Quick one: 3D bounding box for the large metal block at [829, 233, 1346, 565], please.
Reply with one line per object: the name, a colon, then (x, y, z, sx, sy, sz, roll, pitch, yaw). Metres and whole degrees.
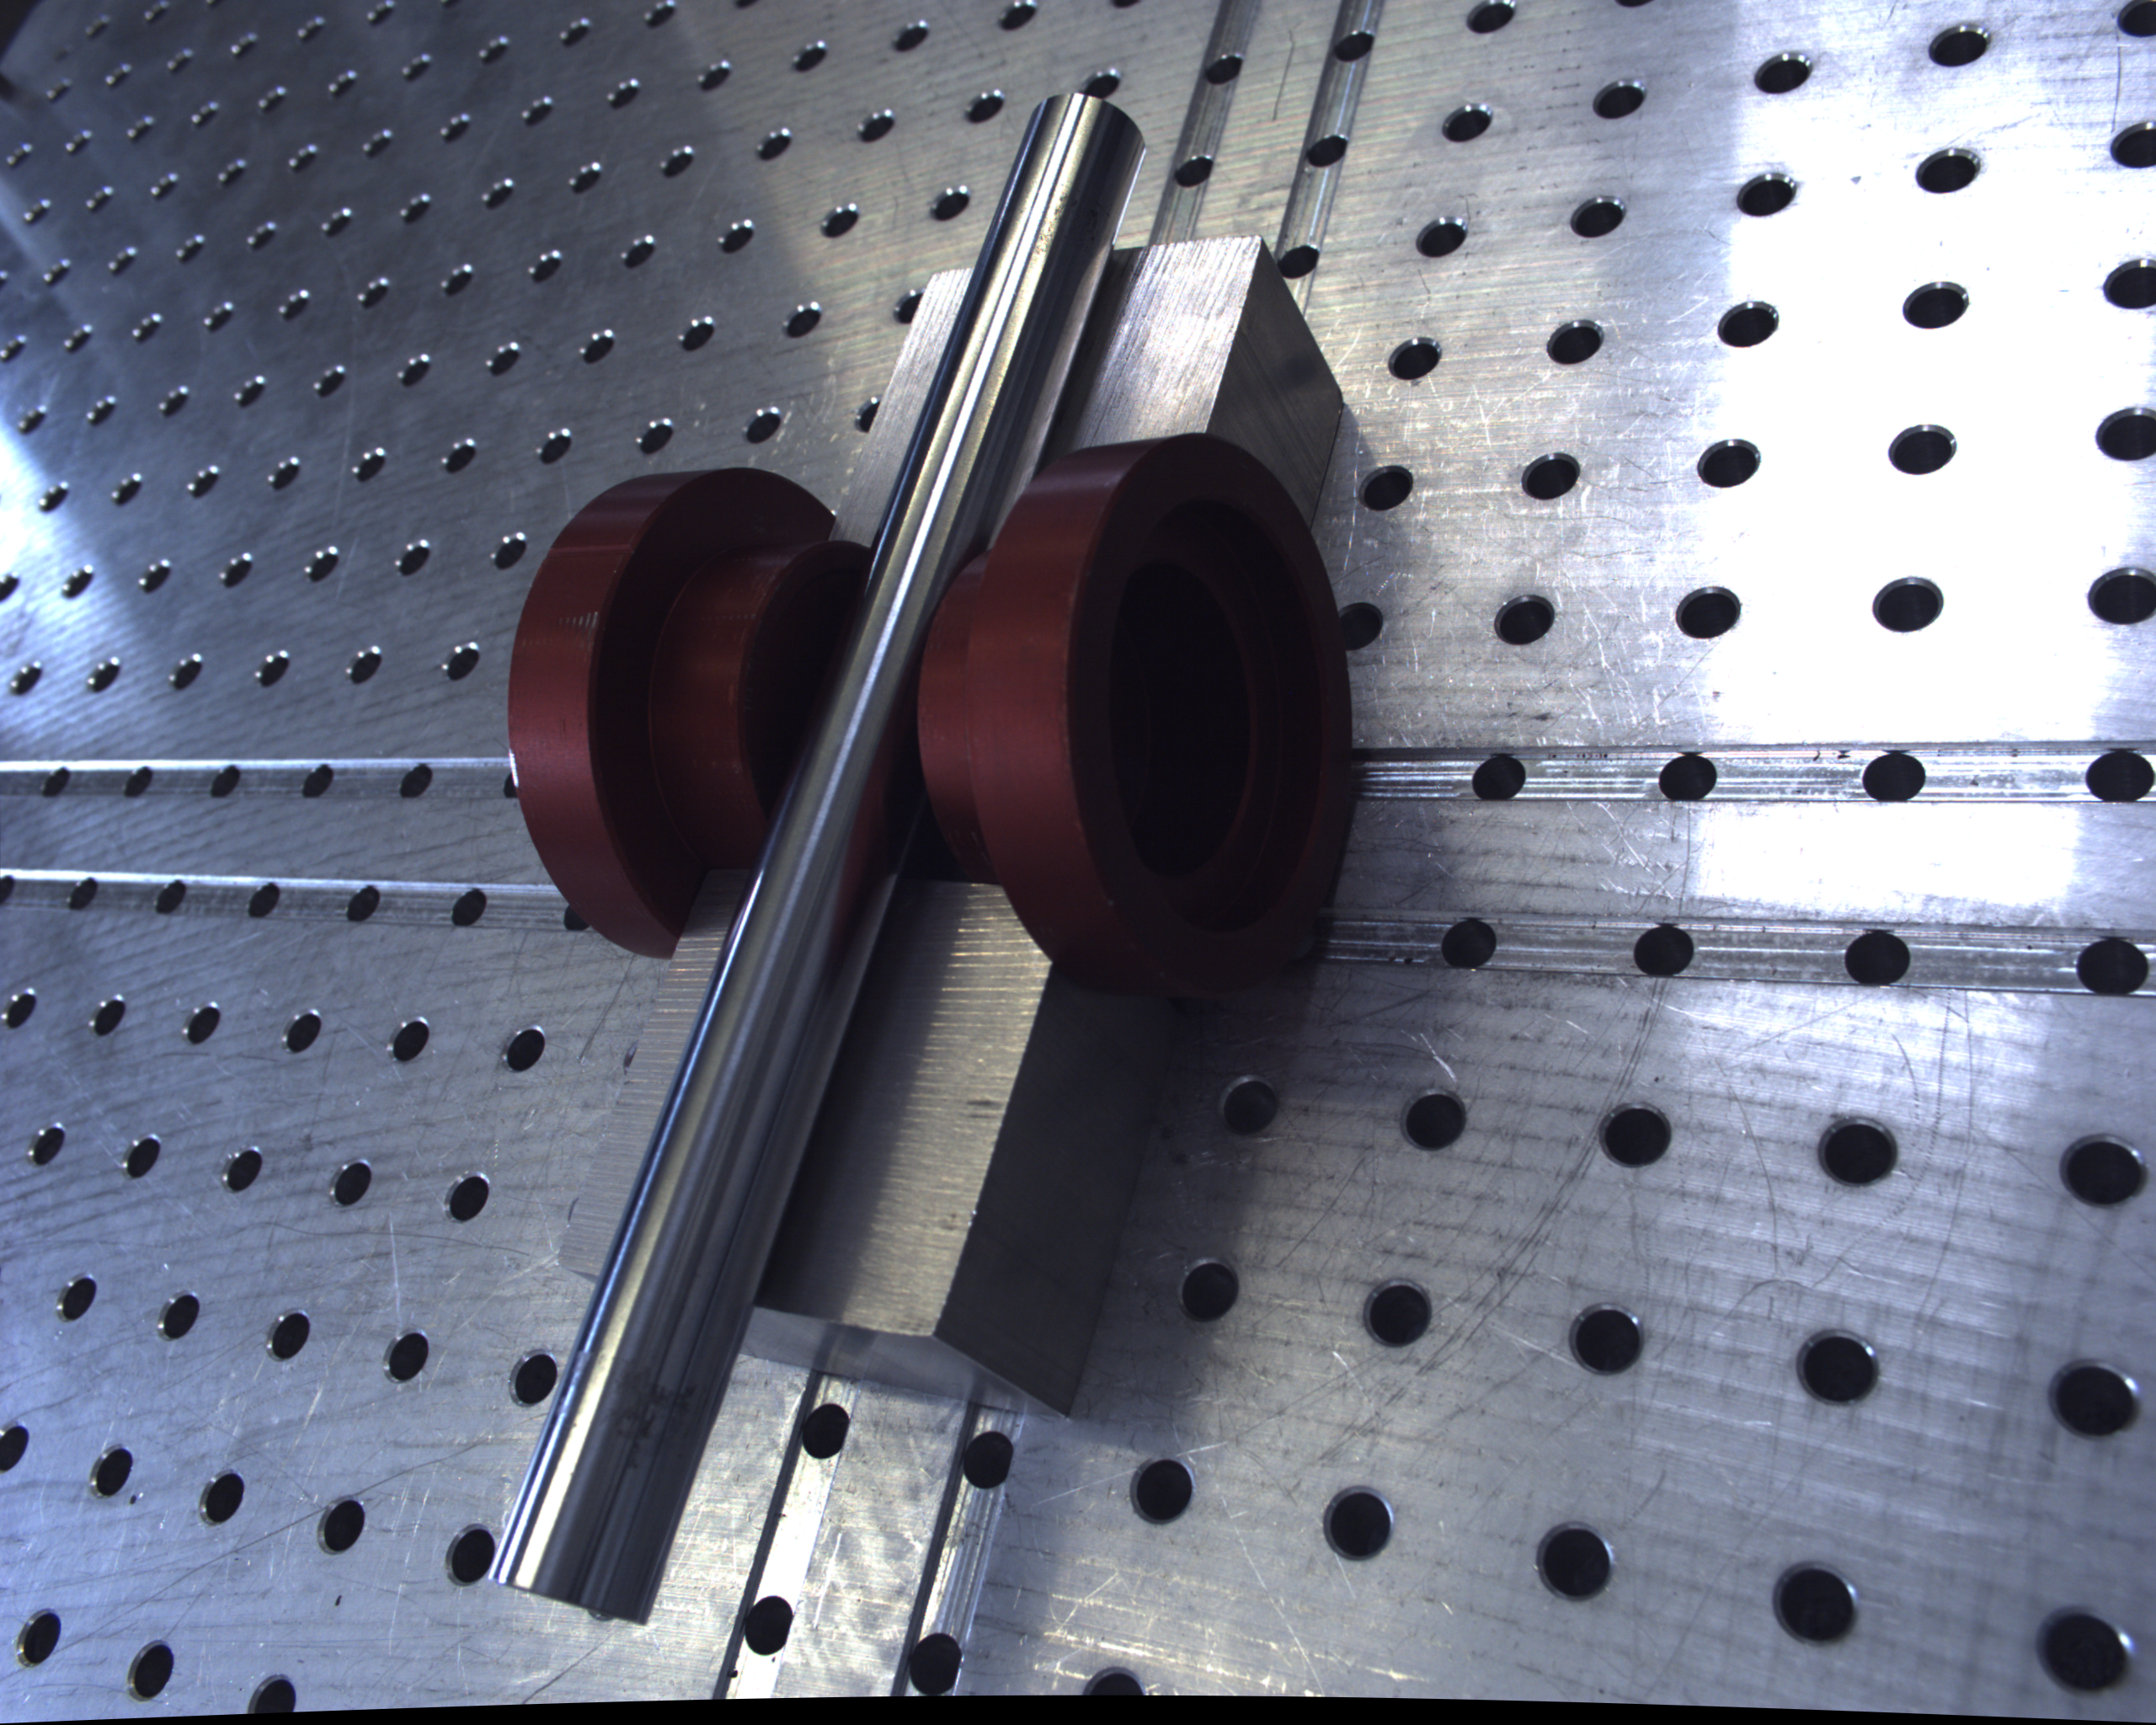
large metal block: (0.003, -0.081, 0.440, 0.080, 0.050, 0.080, 2, 63, 29)

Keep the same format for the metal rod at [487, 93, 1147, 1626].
metal rod: (-0.038, -0.019, 0.376, 0.025, 0.025, 0.300, 3, 63, 29)

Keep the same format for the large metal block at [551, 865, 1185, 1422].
large metal block: (-0.036, 0.049, 0.380, 0.080, 0.050, 0.080, 3, 63, 29)

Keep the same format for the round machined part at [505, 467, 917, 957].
round machined part: (-0.062, -0.028, 0.410, 0.042, 0.098, 0.098, 2, 63, 29)

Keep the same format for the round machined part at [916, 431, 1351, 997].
round machined part: (0.008, -0.025, 0.372, 0.042, 0.098, 0.098, -1, 61, 33)
